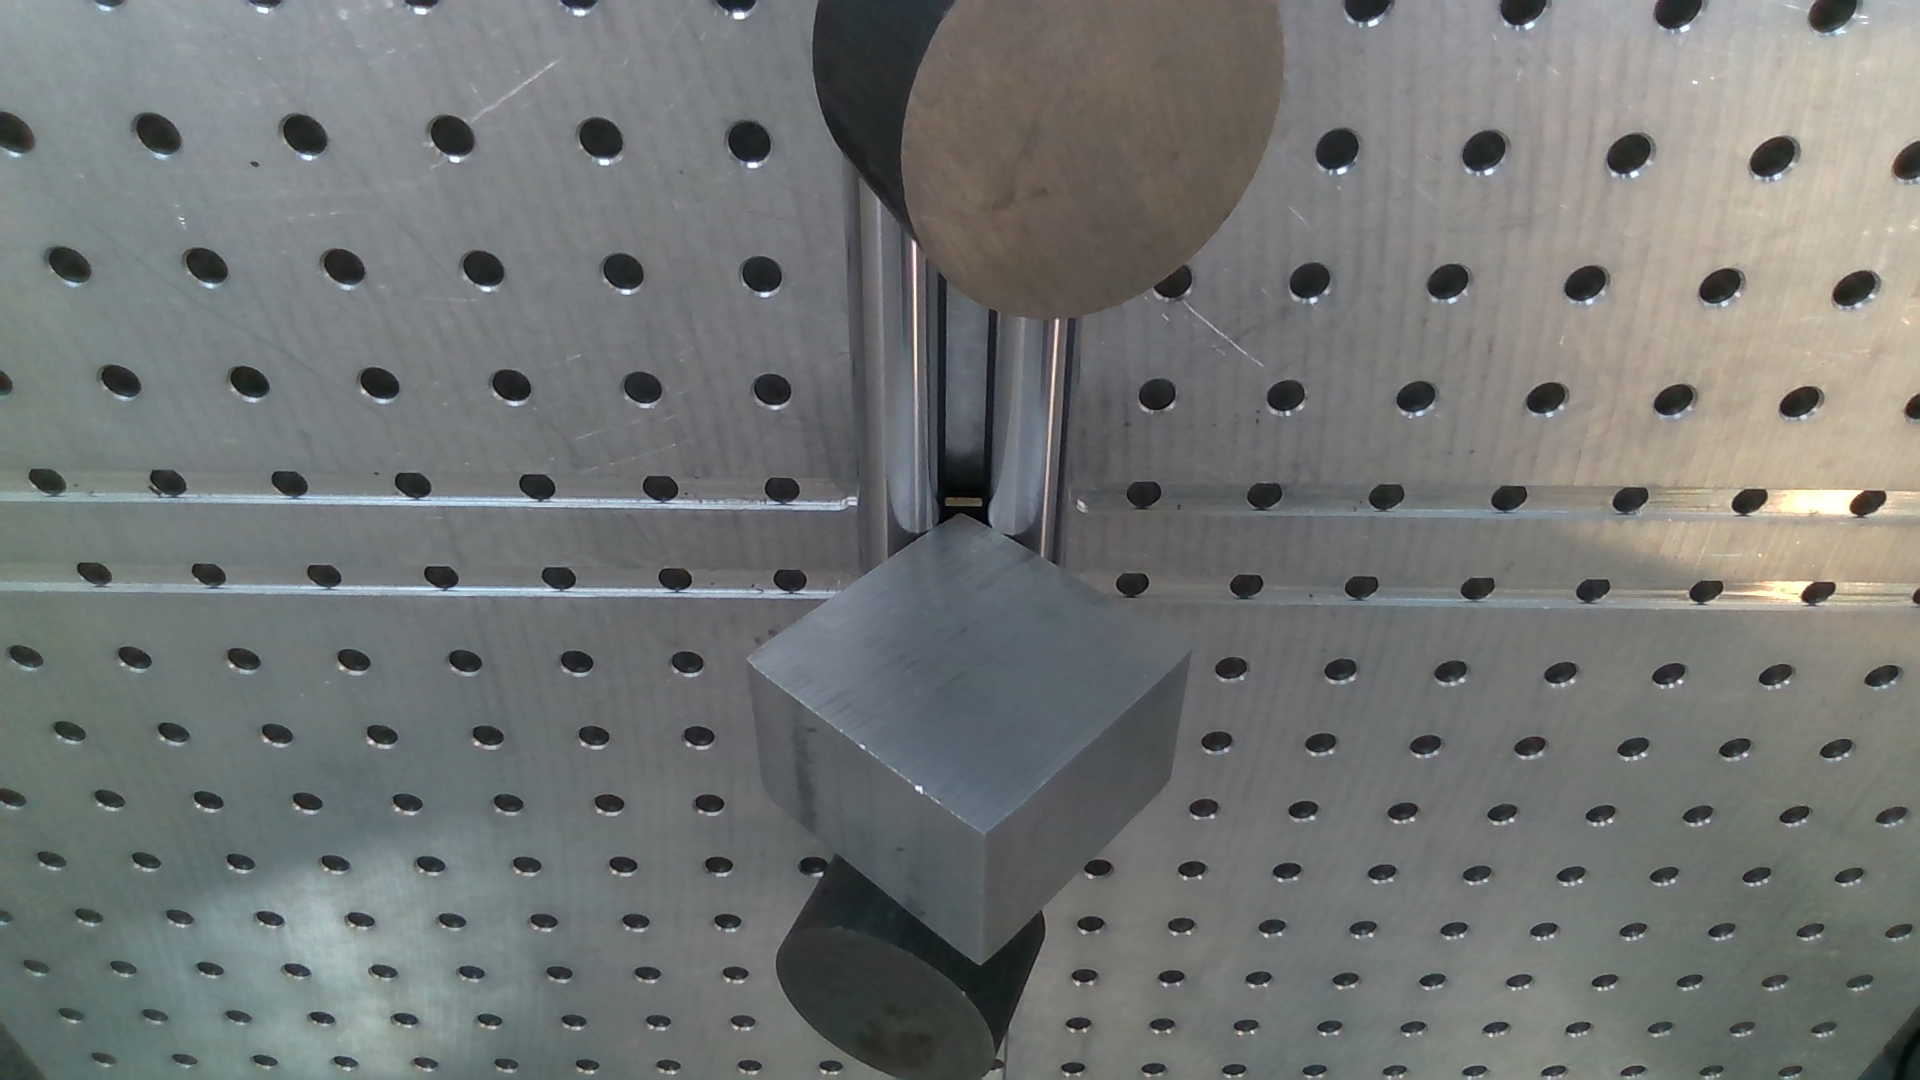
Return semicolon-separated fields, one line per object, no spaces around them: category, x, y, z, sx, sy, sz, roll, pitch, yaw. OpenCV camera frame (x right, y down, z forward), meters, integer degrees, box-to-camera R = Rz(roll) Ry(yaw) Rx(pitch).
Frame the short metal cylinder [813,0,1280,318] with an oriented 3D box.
short metal cylinder;0.016;-0.093;0.279;0.080;0.050;0.080;-15;133;-17

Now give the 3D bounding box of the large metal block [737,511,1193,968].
large metal block;0.001;0.047;0.357;0.080;0.080;0.050;30;138;30

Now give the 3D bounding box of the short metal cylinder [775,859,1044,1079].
short metal cylinder;-0.017;0.141;0.477;0.080;0.050;0.080;14;132;17

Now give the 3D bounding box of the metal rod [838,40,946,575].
metal rod;-0.017;-0.020;0.374;0.025;0.025;0.301;1;130;0

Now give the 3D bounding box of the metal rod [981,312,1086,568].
metal rod;0.018;0.037;0.422;0.025;0.025;0.301;1;130;0
